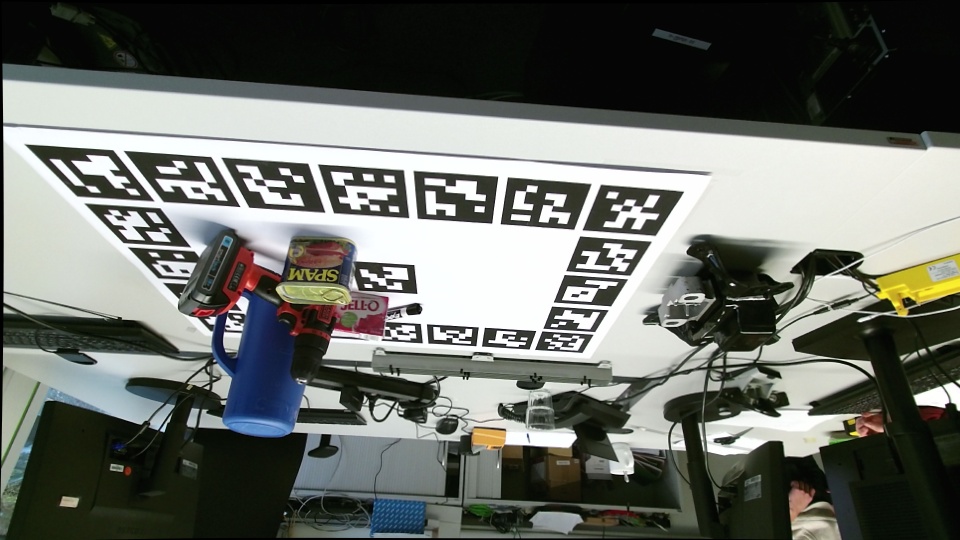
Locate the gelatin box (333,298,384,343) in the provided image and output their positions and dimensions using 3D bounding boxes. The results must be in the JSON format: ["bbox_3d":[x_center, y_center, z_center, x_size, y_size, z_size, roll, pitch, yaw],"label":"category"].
[{"bbox_3d":[-0.218,0.087,0.931,0.090,0.073,0.030,11,143,-10],"label":"gelatin box"}]

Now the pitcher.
[{"bbox_3d":[-0.365,0.145,0.889,0.189,0.241,0.133,17,142,-33],"label":"pitcher"}]

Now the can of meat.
[{"bbox_3d":[-0.236,0.005,0.788,0.102,0.083,0.058,3,149,-1],"label":"can of meat"}]

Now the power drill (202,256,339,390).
[{"bbox_3d":[-0.310,0.074,0.815,0.188,0.183,0.057,30,136,-27],"label":"power drill"}]

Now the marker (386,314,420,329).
[{"bbox_3d":[-0.166,0.099,0.992,0.121,0.019,0.020,-12,144,20],"label":"marker"}]
